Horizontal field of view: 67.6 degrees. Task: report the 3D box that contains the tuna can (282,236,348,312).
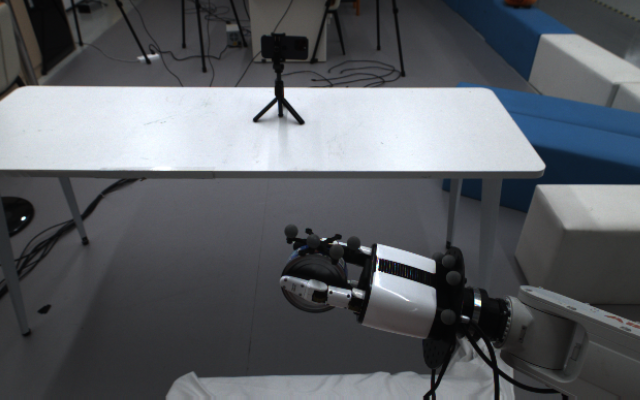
[{"bbox_3d":[-0.005,0.100,0.626,0.085,0.085,0.034,5,18,4],"label":"tuna can"}]
